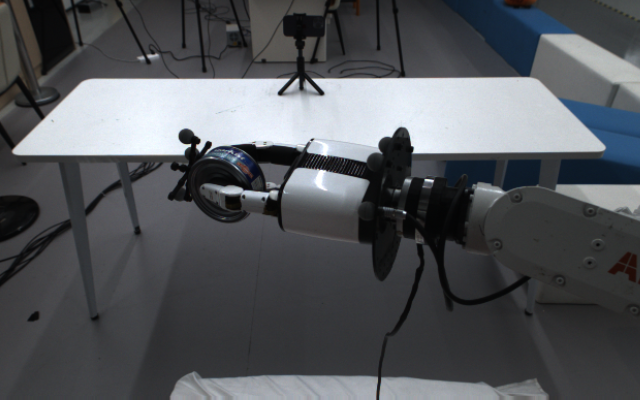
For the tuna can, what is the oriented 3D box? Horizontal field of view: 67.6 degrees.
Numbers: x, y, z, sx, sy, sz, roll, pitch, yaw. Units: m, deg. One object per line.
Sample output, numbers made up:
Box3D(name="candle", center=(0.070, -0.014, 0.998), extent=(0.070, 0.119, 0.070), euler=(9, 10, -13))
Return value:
Box3D(name="tuna can", center=(-0.104, -0.013, 0.555), extent=(0.085, 0.085, 0.034), euler=(12, 30, 14))
